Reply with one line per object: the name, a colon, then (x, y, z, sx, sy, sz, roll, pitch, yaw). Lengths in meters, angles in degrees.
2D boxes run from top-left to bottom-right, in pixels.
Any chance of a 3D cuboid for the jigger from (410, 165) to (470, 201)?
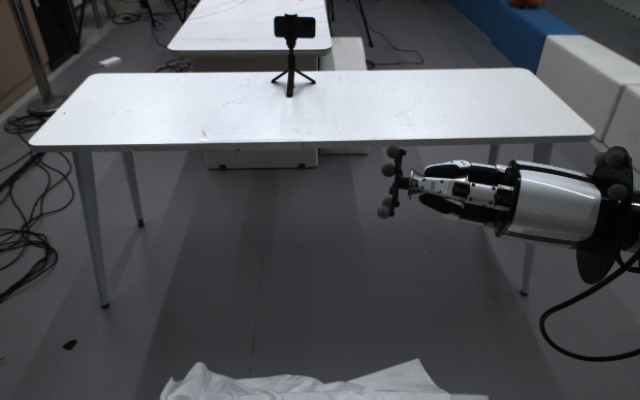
jigger: (0.152, -0.018, 0.601, 0.071, 0.043, 0.043, 8, 35, 15)
